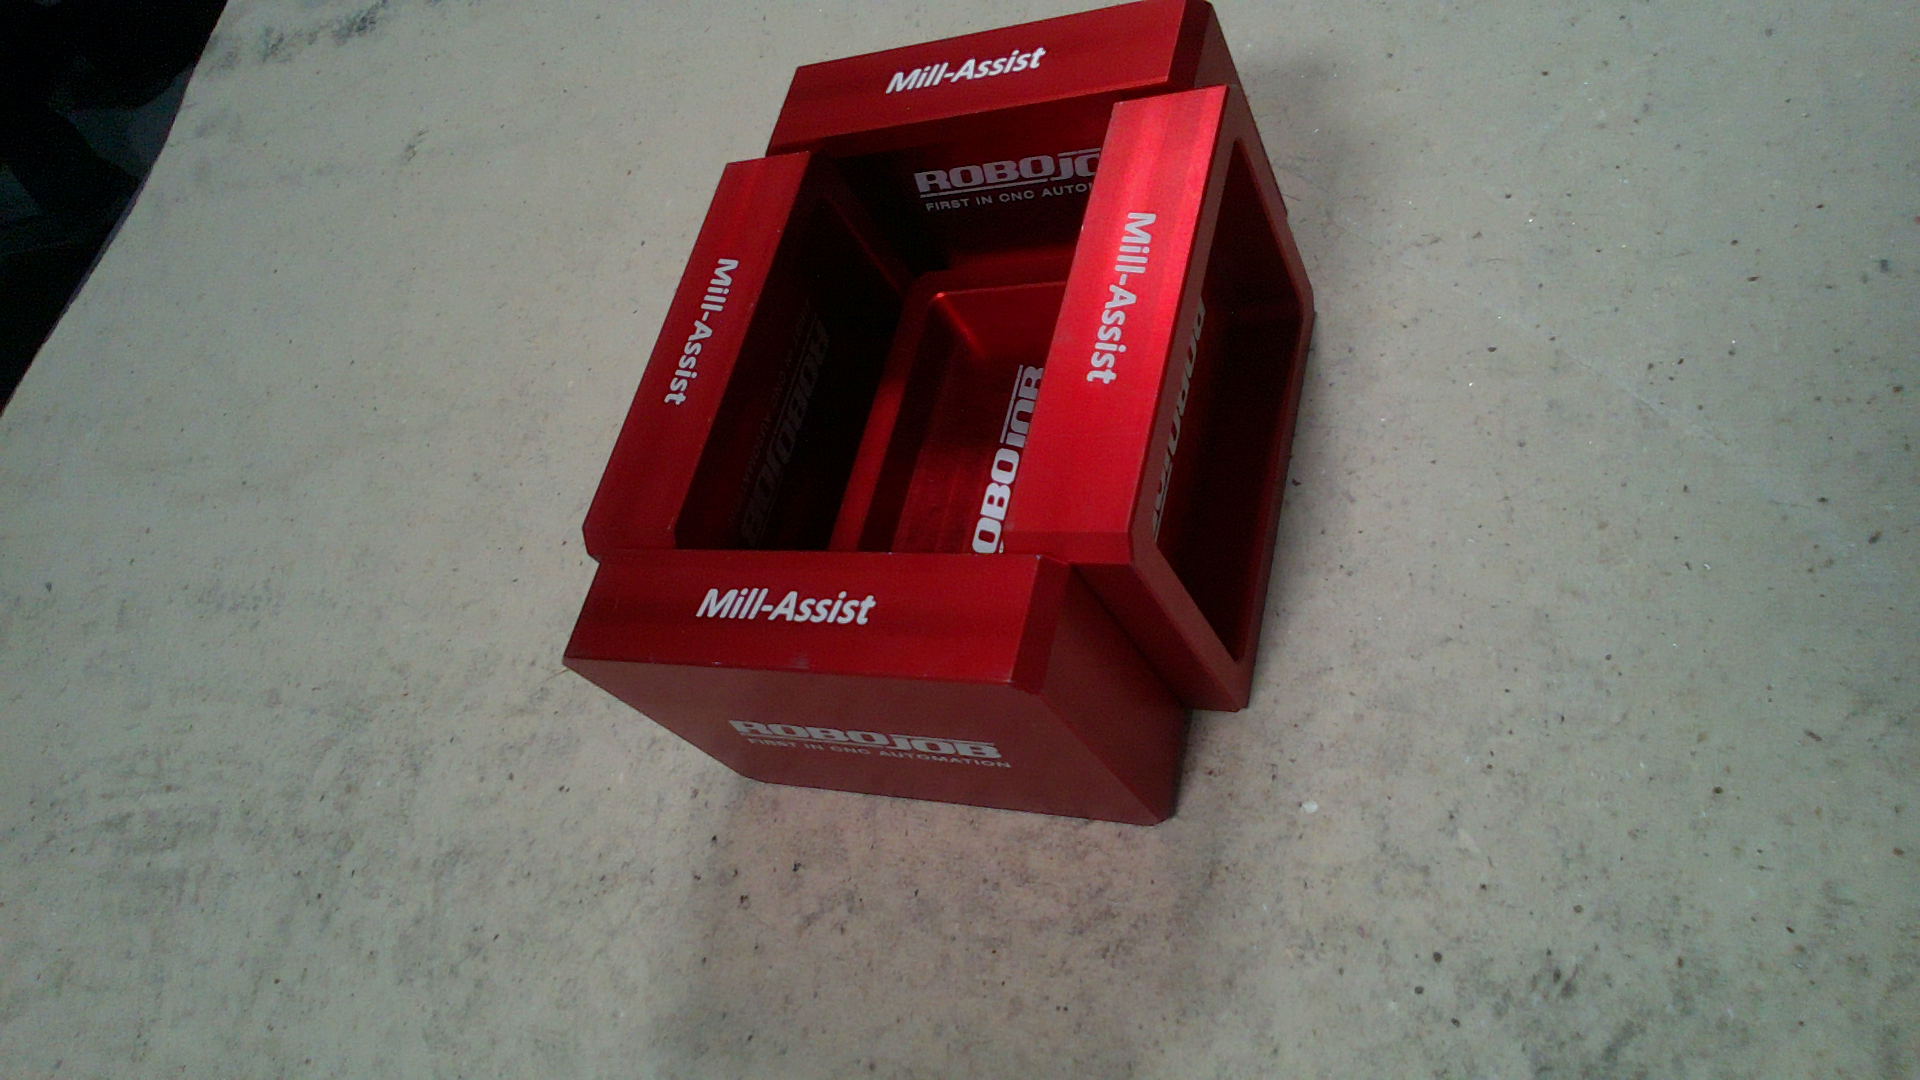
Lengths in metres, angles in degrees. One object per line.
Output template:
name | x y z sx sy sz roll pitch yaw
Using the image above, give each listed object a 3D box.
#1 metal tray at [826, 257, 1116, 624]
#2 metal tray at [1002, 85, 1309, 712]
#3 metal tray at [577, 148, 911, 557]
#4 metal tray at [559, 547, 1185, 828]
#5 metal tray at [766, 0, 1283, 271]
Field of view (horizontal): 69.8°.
metal tray | 0.014 -0.020 0.395 0.090 0.030 0.130 1 62 29
metal tray | 0.055 -0.034 0.342 0.030 0.090 0.130 1 62 29
metal tray | -0.051 -0.035 0.400 0.030 0.090 0.130 1 62 29
metal tray | -0.020 0.036 0.340 0.130 0.090 0.030 1 62 29
metal tray | 0.020 -0.105 0.405 0.130 0.090 0.030 1 62 29
